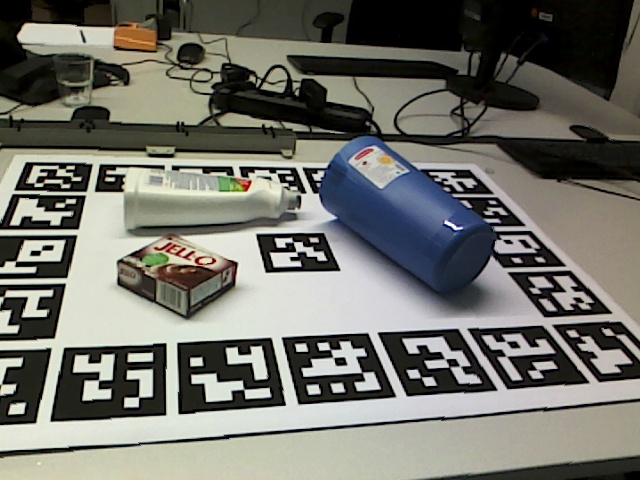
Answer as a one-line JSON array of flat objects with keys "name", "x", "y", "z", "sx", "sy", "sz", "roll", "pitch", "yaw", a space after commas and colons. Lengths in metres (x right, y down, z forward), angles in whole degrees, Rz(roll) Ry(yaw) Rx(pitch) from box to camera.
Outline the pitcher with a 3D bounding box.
[{"name": "pitcher", "x": 0.125, "y": -0.019, "z": 0.869, "sx": 0.187, "sy": 0.133, "sz": 0.244, "roll": 25, "pitch": 15, "yaw": -50}]

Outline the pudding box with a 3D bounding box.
[{"name": "pudding box", "x": -0.175, "y": 0.036, "z": 0.755, "sx": 0.114, "sy": 0.038, "sz": 0.089, "roll": 26, "pitch": 30, "yaw": 25}]

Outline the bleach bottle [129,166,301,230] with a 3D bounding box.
[{"name": "bleach bottle", "x": -0.150, "y": -0.062, "z": 0.909, "sx": 0.250, "sy": 0.068, "sz": 0.103, "roll": 0, "pitch": 36, "yaw": -17}]
